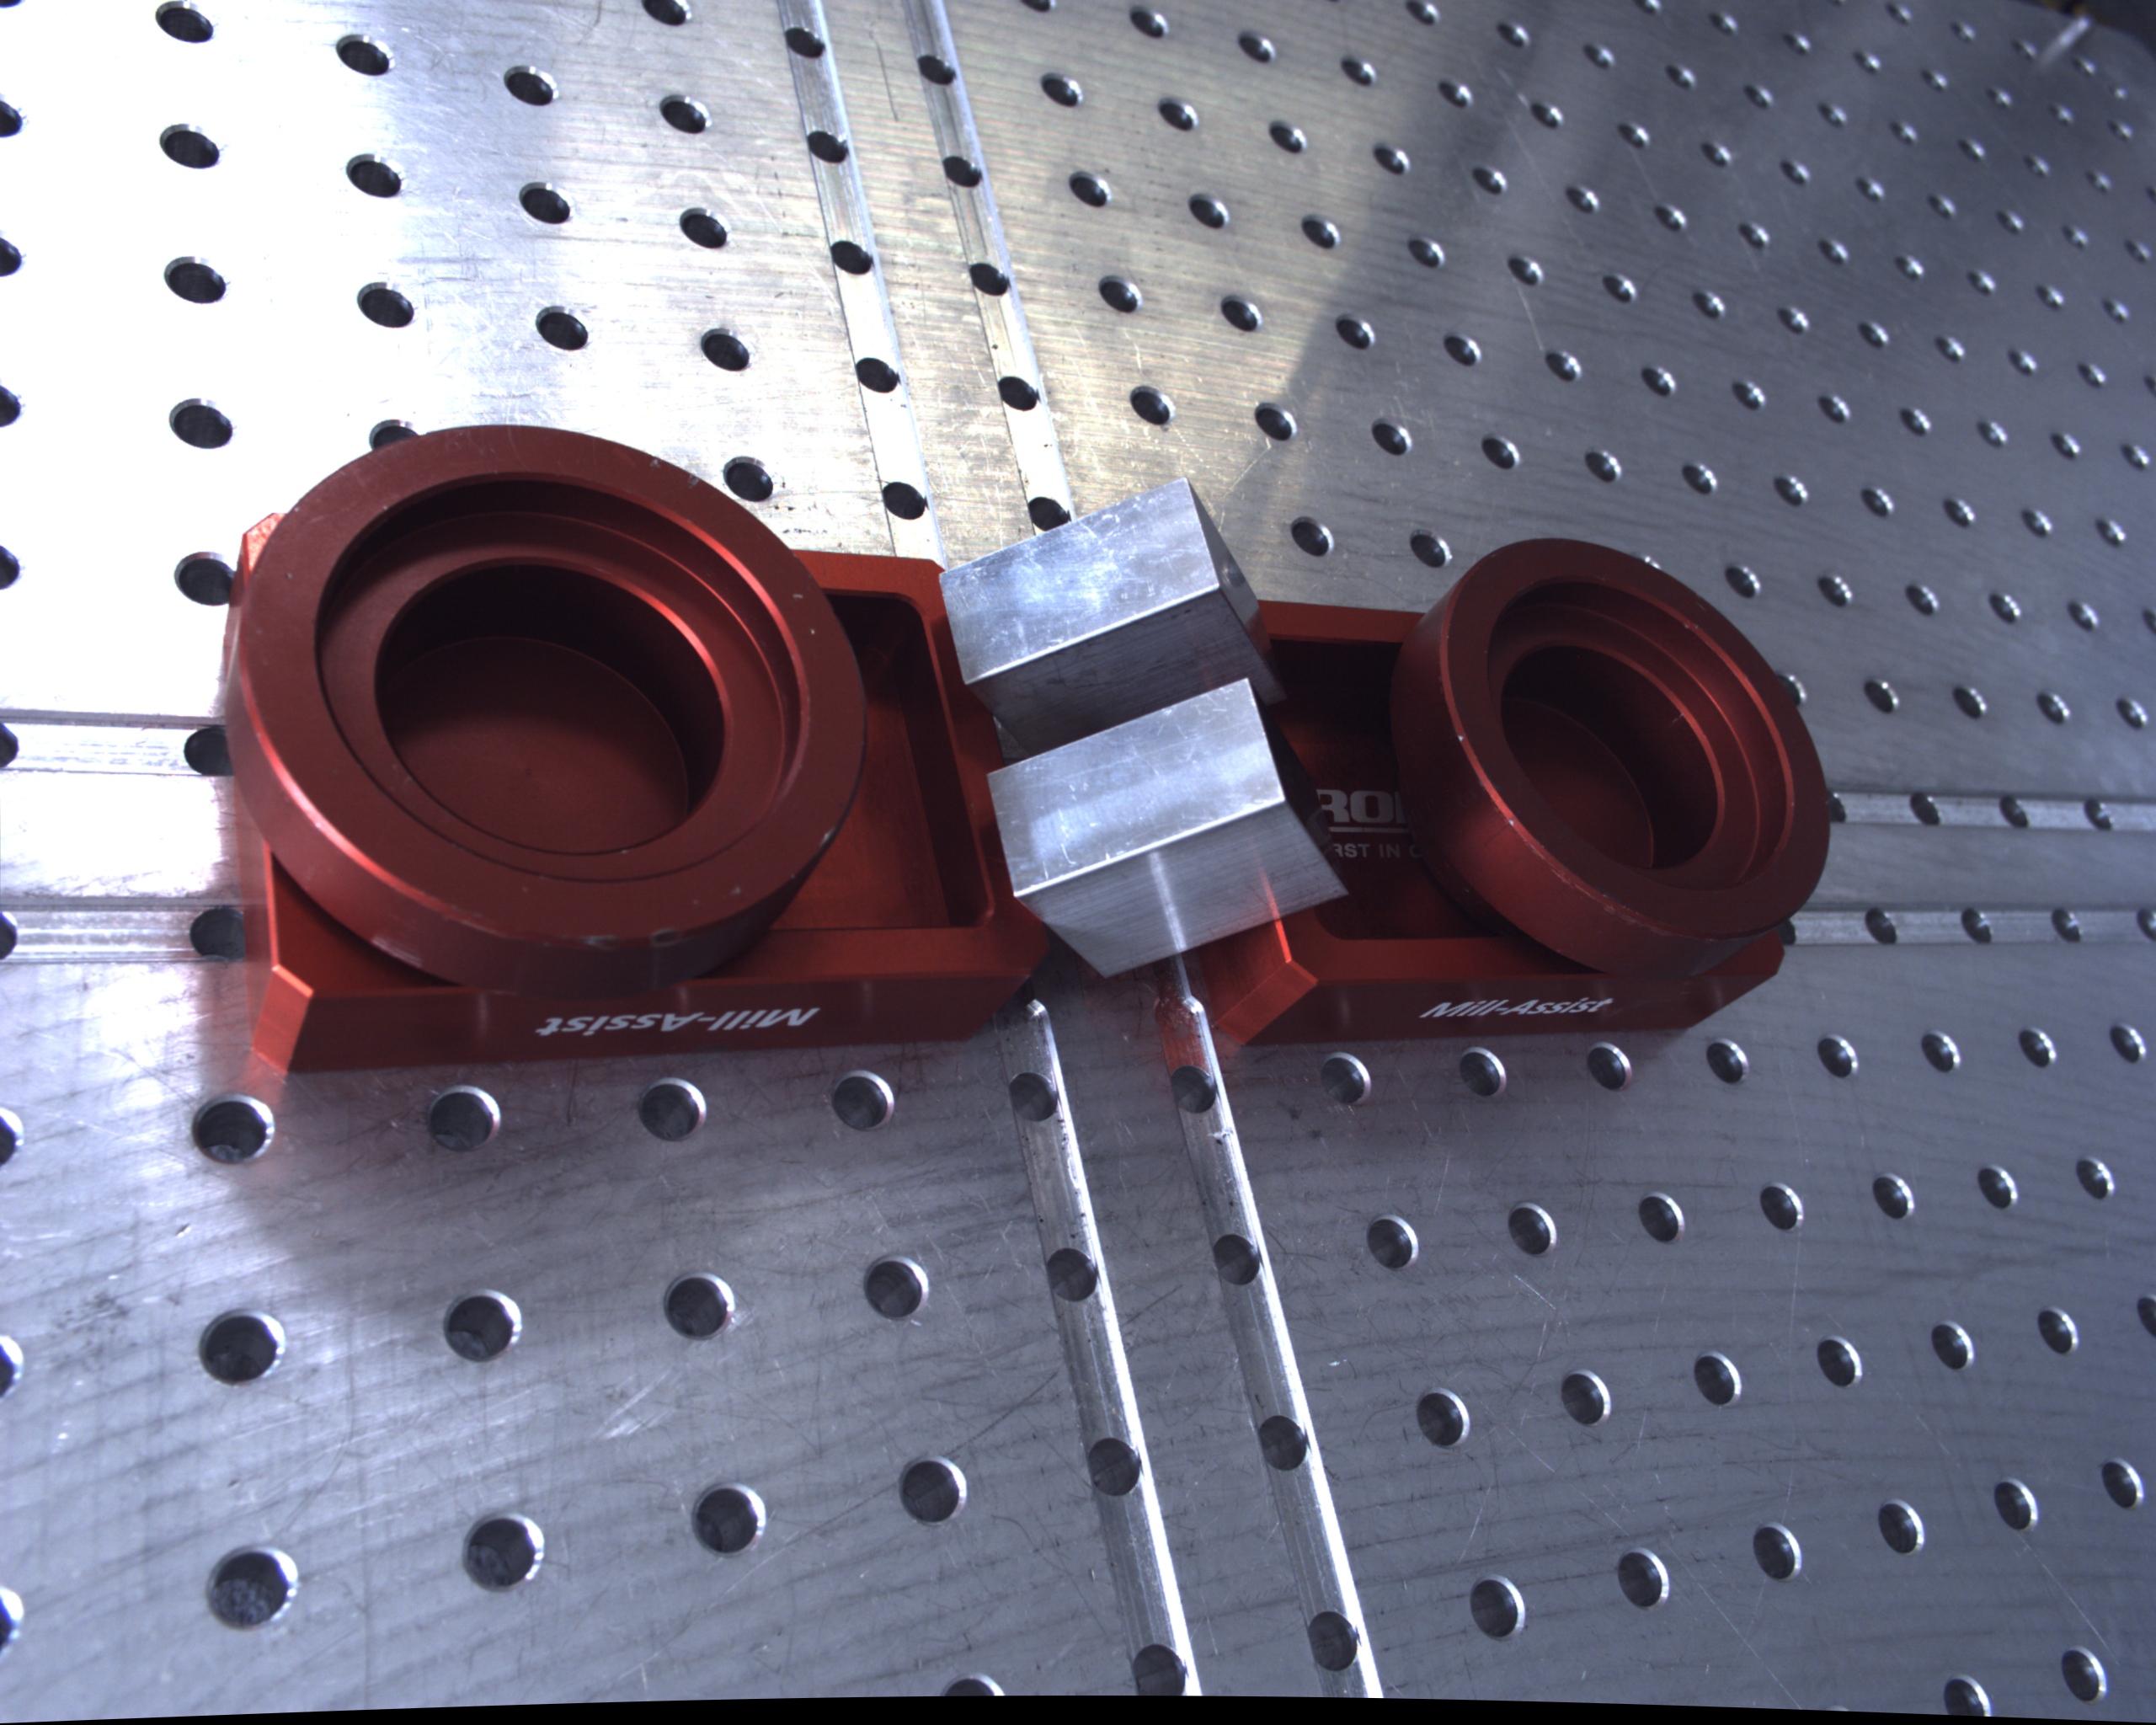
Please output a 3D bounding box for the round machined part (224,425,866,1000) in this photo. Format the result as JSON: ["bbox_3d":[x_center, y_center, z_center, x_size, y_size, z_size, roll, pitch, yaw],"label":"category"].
[{"bbox_3d":[-0.089,-0.021,0.346,0.099,0.042,0.098,14,56,-21],"label":"round machined part"}]

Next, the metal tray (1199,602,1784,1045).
[{"bbox_3d":[0.083,-0.009,0.455,0.131,0.030,0.090,1,62,-28],"label":"metal tray"}]

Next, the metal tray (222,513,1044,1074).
[{"bbox_3d":[-0.078,-0.013,0.372,0.131,0.030,0.090,-1,64,-29],"label":"metal tray"}]

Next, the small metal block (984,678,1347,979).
[{"bbox_3d":[0.017,-0.005,0.385,0.050,0.050,0.025,-19,65,12],"label":"small metal block"}]

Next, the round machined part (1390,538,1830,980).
[{"bbox_3d":[0.109,-0.018,0.451,0.099,0.042,0.098,14,56,-21],"label":"round machined part"}]

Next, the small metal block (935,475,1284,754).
[{"bbox_3d":[0.007,-0.044,0.404,0.050,0.050,0.025,-19,65,12],"label":"small metal block"}]
